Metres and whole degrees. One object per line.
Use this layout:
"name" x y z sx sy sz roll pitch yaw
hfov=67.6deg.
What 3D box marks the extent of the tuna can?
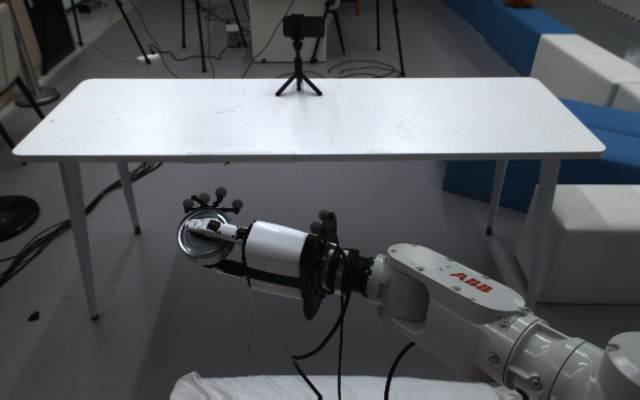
"tuna can" -0.169 0.058 0.743 0.085 0.034 0.085 -1 57 2
